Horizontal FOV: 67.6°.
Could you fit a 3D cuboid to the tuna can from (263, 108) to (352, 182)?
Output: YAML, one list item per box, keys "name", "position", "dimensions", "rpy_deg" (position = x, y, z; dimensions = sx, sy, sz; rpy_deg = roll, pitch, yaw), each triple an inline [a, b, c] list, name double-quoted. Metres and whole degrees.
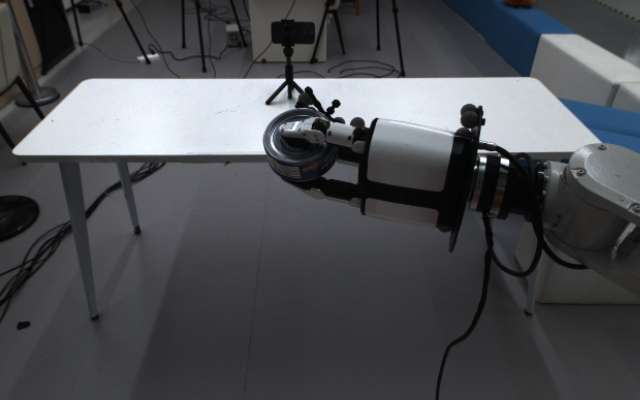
- name: "tuna can"
  position: [-0.018, -0.060, 0.563]
  dimensions: [0.085, 0.034, 0.085]
  rpy_deg: [-4, 58, 6]
